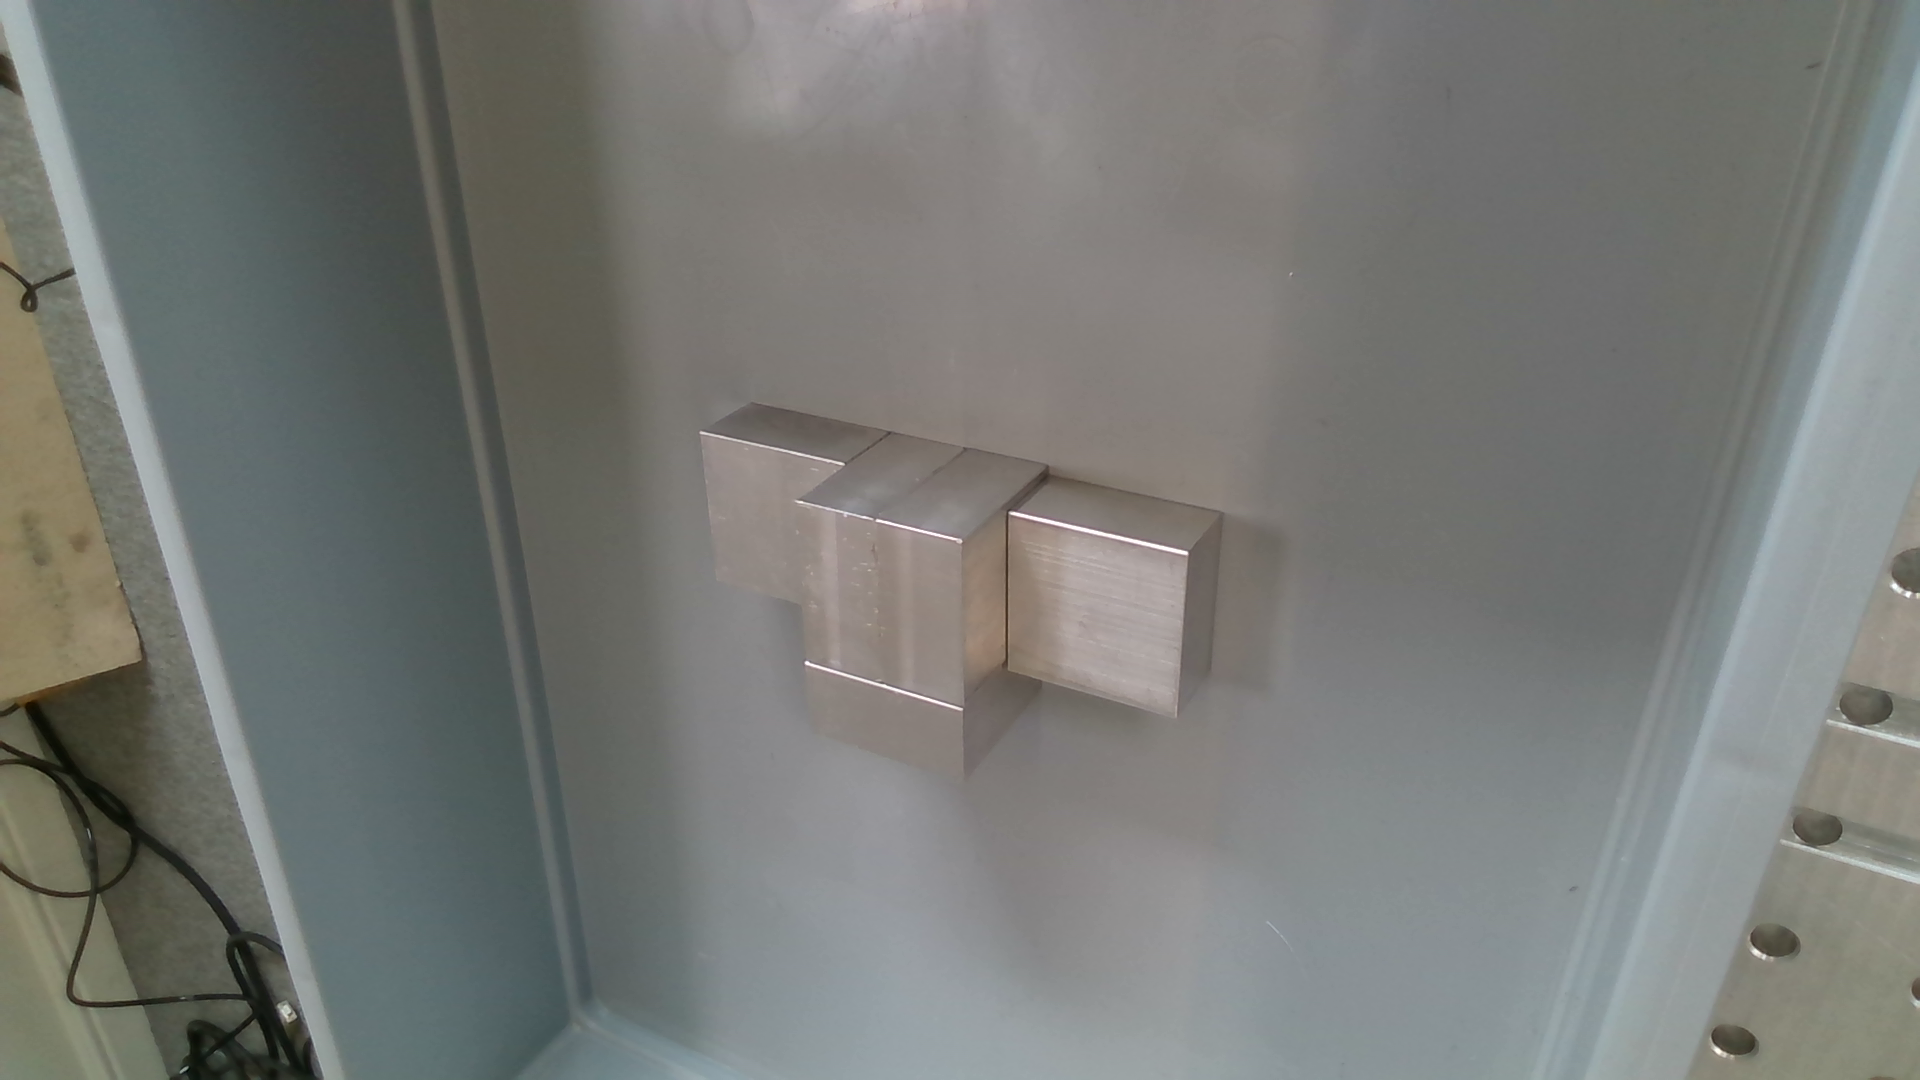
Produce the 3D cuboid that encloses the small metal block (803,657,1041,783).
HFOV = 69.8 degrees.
[{"bbox_3d":[-0.010,0.039,0.399,0.050,0.050,0.025,14,122,25],"label":"small metal block"}]

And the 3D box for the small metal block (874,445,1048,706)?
[{"bbox_3d":[0.001,0.008,0.375,0.025,0.050,0.050,14,122,25],"label":"small metal block"}]

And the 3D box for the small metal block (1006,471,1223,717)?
[{"bbox_3d":[0.041,0.014,0.370,0.050,0.025,0.050,14,122,25],"label":"small metal block"}]

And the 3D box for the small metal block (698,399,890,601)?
[{"bbox_3d":[-0.048,-0.010,0.411,0.050,0.025,0.050,14,122,25],"label":"small metal block"}]

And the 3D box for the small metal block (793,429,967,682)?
[{"bbox_3d":[-0.021,0.003,0.386,0.025,0.050,0.050,14,122,25],"label":"small metal block"}]
